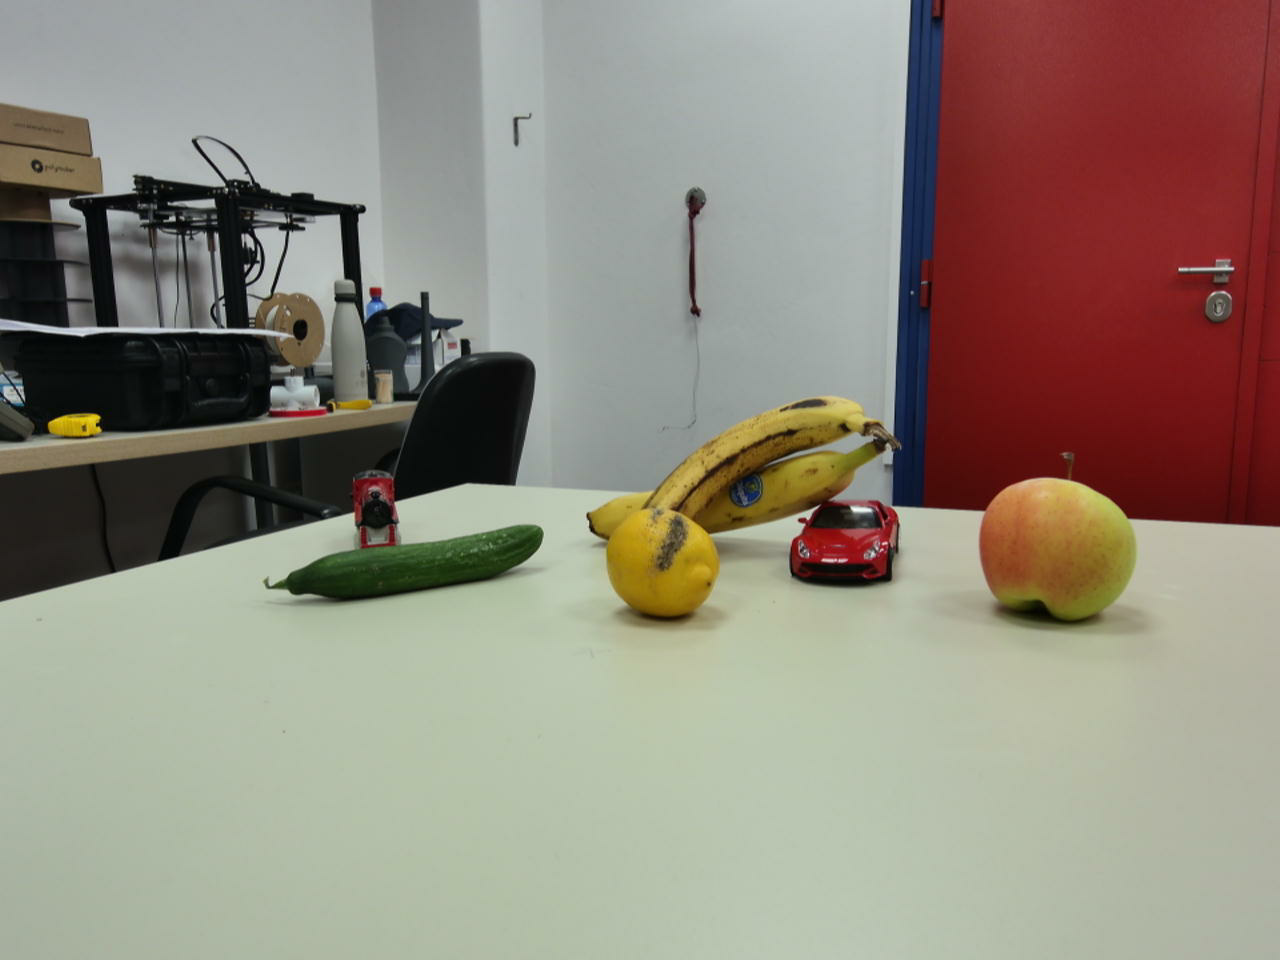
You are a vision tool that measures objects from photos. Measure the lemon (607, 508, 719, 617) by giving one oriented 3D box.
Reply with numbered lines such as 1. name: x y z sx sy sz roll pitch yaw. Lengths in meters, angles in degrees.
1. lemon: 0.012 0.044 0.533 0.061 0.056 0.058 2 6 16
